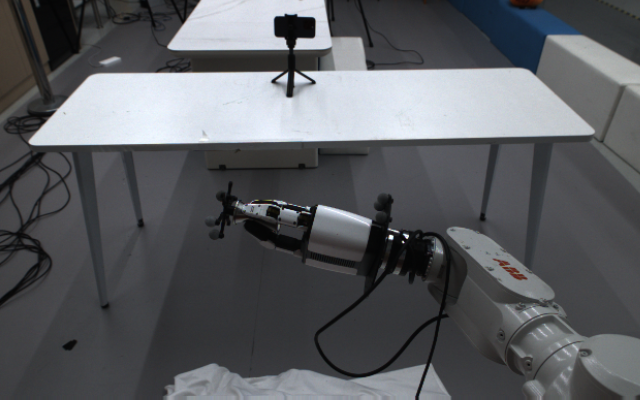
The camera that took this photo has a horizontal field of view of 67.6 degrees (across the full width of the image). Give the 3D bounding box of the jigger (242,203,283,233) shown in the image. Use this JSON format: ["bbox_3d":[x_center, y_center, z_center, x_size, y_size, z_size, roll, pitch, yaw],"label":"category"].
[{"bbox_3d":[-0.087,0.020,0.734,0.071,0.043,0.043,11,35,3],"label":"jigger"}]
